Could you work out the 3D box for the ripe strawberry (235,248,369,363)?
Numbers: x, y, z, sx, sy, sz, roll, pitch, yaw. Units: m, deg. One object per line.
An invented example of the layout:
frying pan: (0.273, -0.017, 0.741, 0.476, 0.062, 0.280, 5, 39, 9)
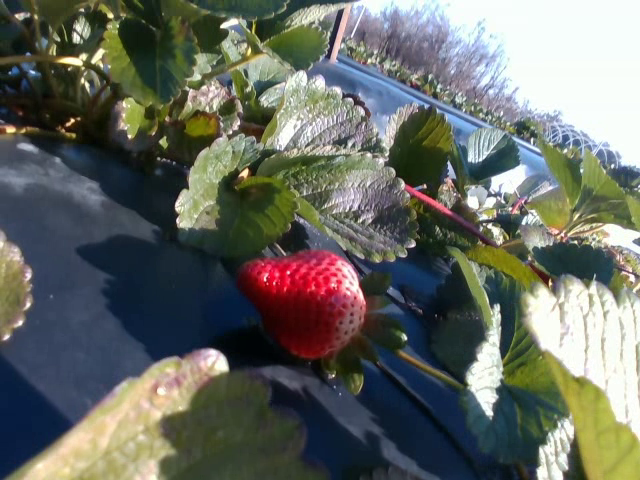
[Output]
ripe strawberry: (-0.007, 0.020, 0.194, 0.055, 0.042, 0.044, 27, -33, -34)
